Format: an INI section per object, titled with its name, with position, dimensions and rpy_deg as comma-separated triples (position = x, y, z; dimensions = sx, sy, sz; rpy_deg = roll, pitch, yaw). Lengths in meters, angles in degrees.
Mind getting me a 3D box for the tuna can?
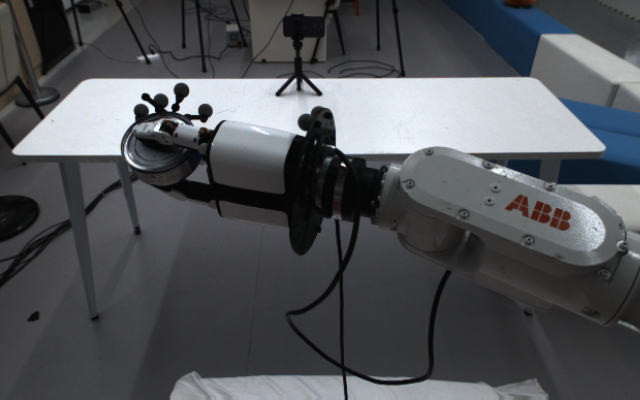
[tuna can]
position = -0.180, -0.058, 0.562
dimensions = 0.085, 0.034, 0.085
rpy_deg = -1, 58, 2
